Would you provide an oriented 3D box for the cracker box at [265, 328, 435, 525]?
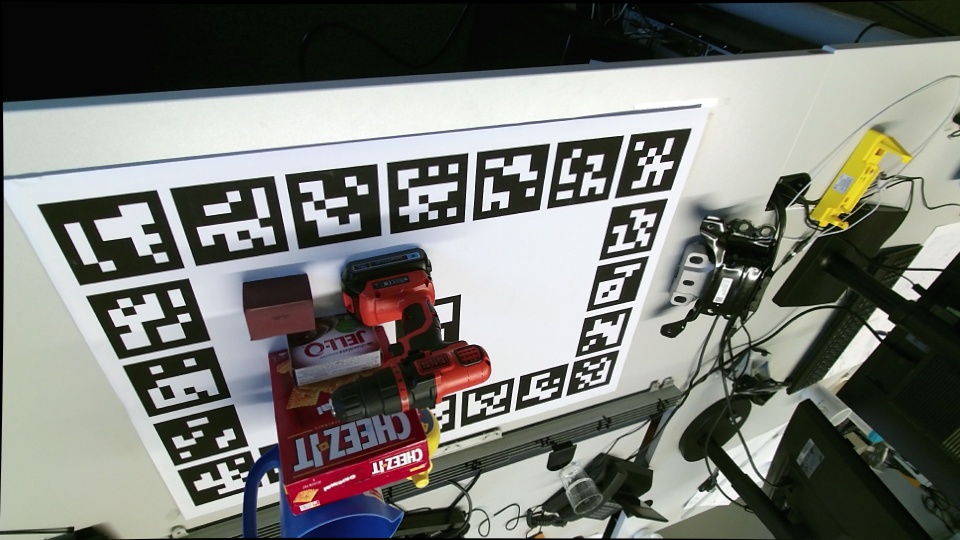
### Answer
[{"bbox_3d":[-0.171,0.184,0.684,0.165,0.213,0.072,-15,131,-20],"label":"cracker box"}]

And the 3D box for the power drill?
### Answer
[{"bbox_3d":[-0.097,0.089,0.631,0.185,0.186,0.057,-13,131,-18],"label":"power drill"}]

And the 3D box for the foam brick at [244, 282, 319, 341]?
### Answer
[{"bbox_3d":[-0.247,0.055,0.666,0.078,0.051,0.053,-10,125,-21],"label":"foam brick"}]

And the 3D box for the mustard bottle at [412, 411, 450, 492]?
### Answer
[{"bbox_3d":[-0.097,0.246,0.776,0.096,0.191,0.058,0,122,-27],"label":"mustard bottle"}]

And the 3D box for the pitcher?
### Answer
[{"bbox_3d":[-0.216,0.279,0.724,0.189,0.241,0.133,-8,126,-25],"label":"pitcher"}]

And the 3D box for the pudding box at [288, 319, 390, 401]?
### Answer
[{"bbox_3d":[-0.183,0.114,0.698,0.114,0.089,0.038,-13,130,-22],"label":"pudding box"}]
